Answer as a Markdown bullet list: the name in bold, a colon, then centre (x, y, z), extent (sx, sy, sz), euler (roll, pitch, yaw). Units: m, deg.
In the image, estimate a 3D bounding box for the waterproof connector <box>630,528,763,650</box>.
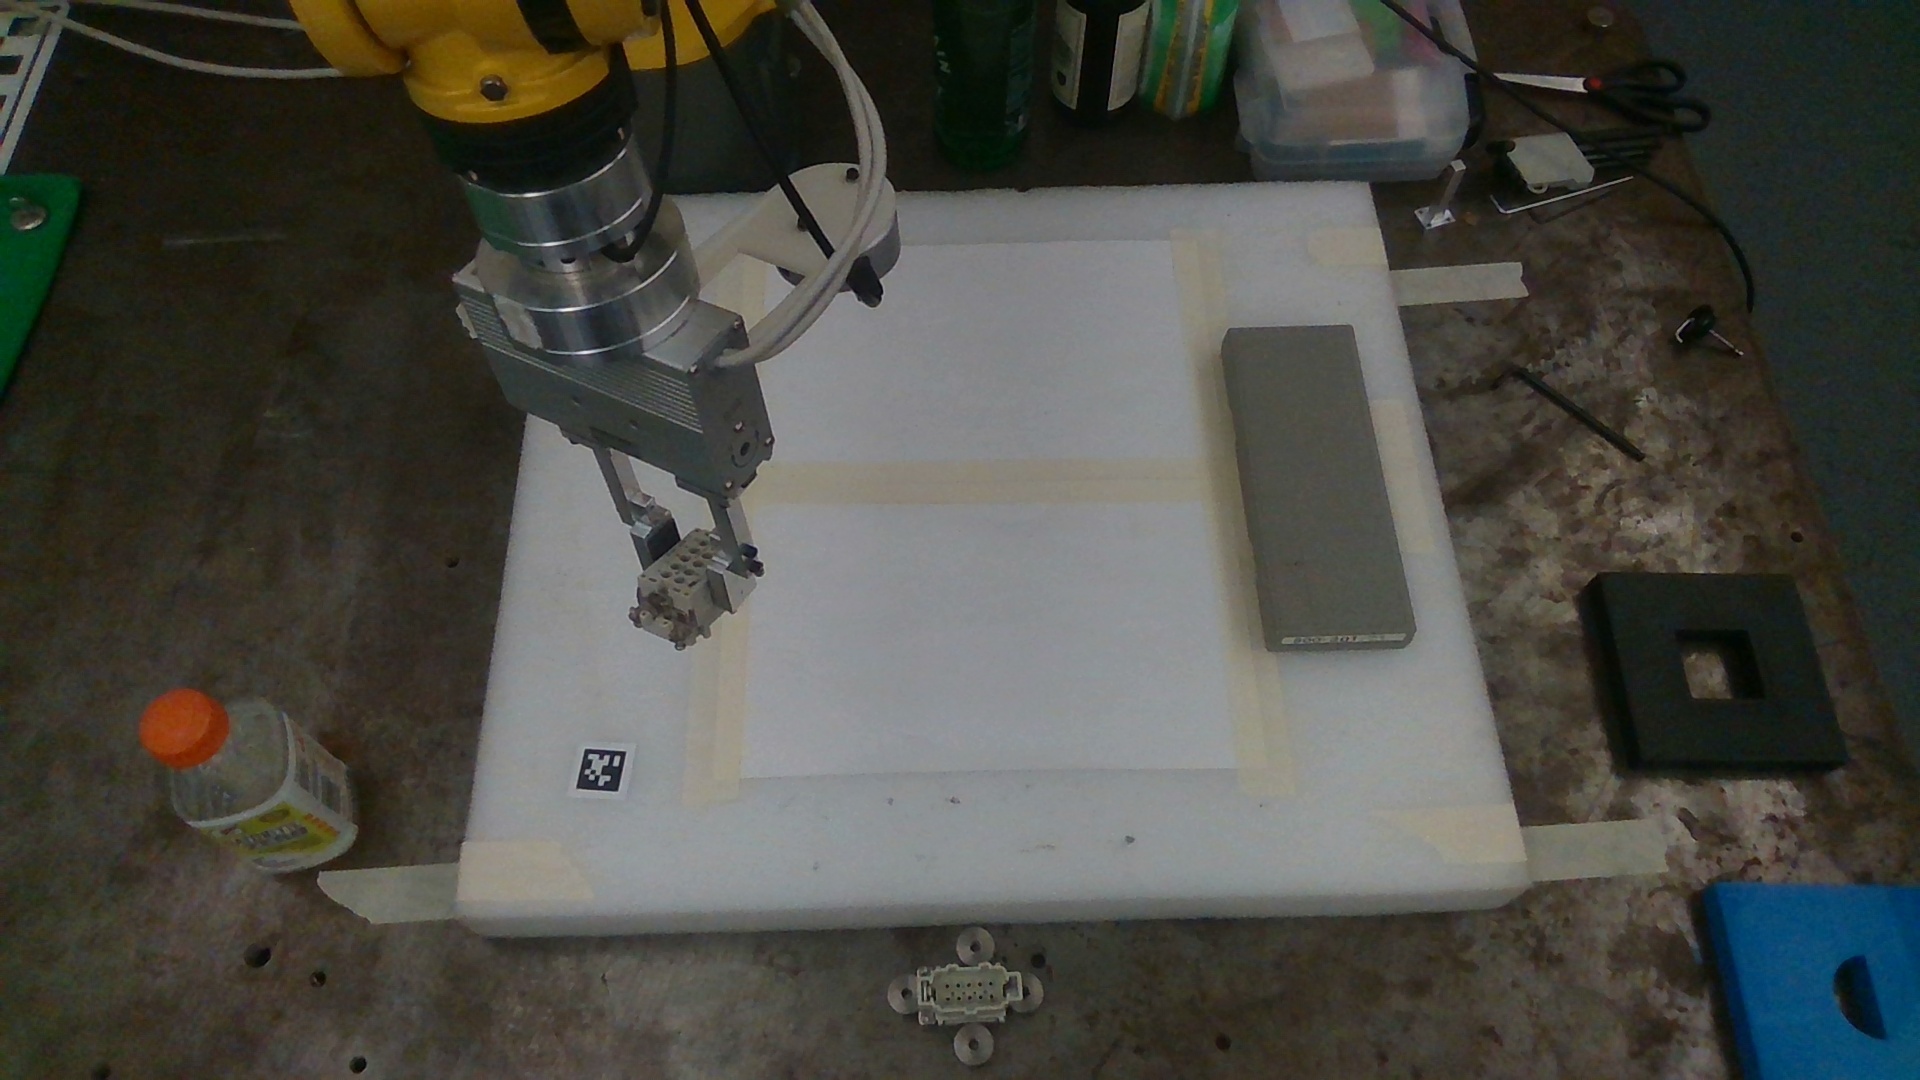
- **waterproof connector**: centre (-0.129, 0.024, 0.678), extent (0.037, 0.038, 0.069), euler (17, 38, 20)
